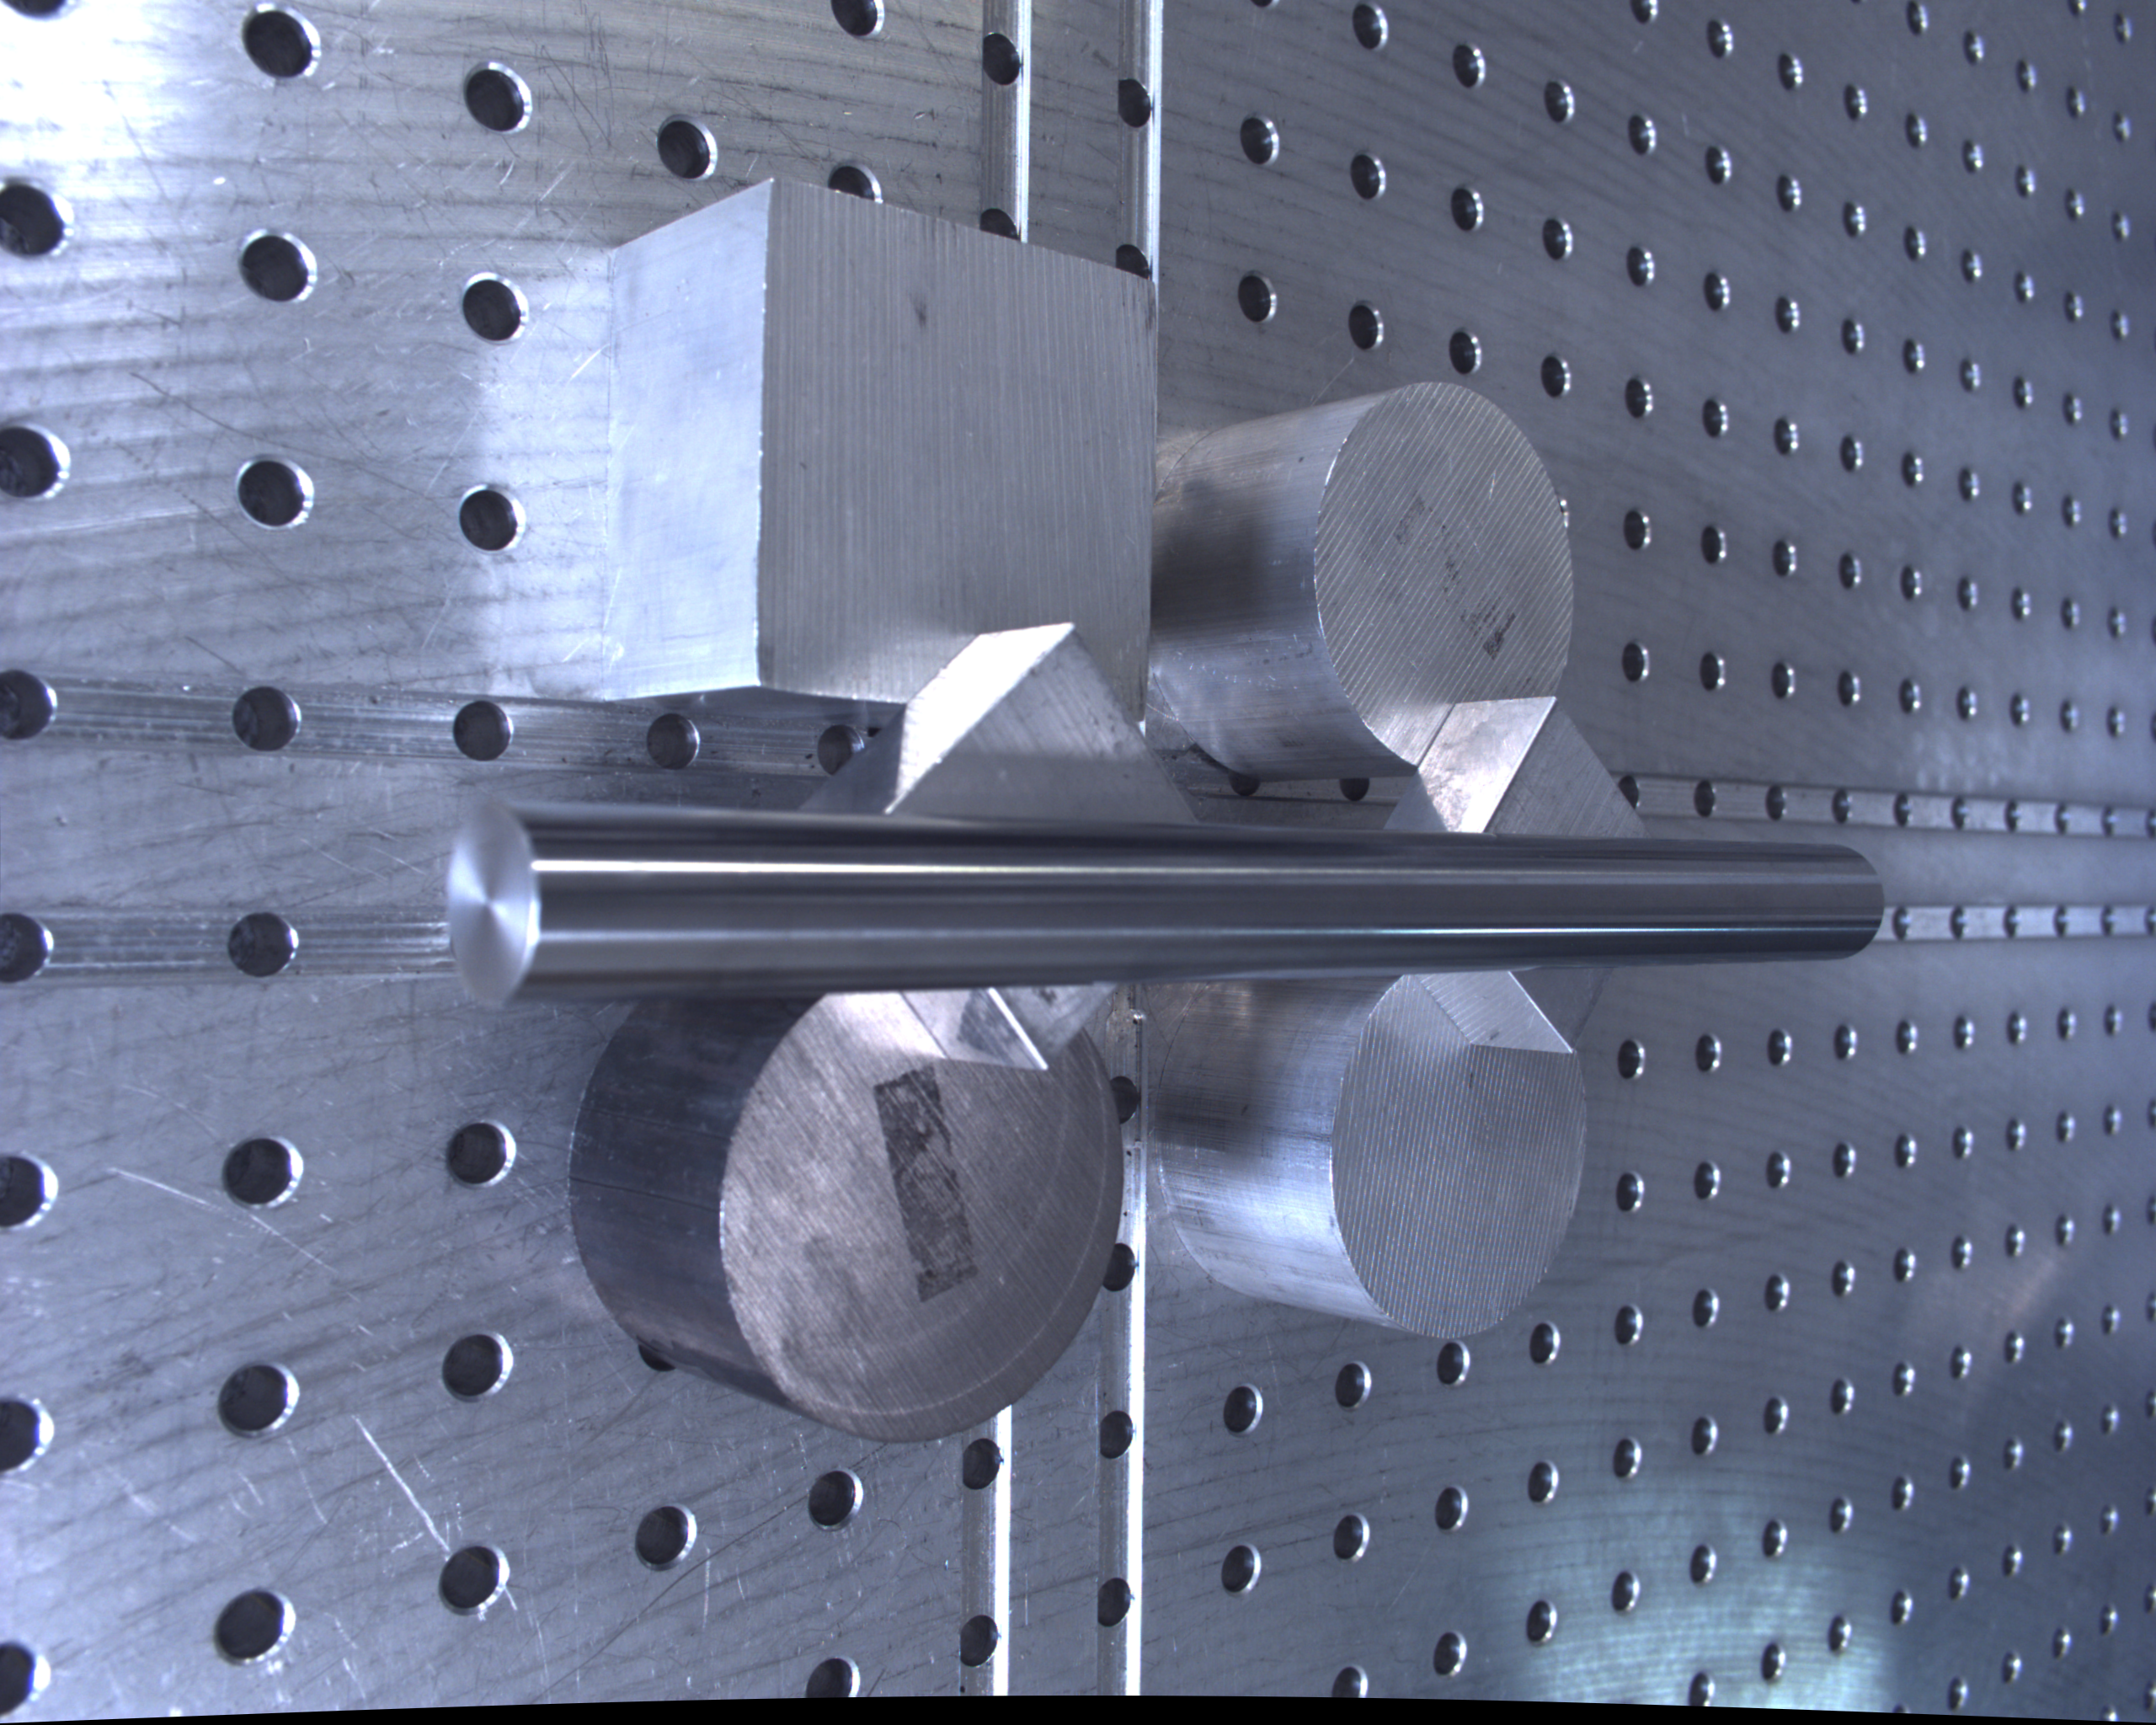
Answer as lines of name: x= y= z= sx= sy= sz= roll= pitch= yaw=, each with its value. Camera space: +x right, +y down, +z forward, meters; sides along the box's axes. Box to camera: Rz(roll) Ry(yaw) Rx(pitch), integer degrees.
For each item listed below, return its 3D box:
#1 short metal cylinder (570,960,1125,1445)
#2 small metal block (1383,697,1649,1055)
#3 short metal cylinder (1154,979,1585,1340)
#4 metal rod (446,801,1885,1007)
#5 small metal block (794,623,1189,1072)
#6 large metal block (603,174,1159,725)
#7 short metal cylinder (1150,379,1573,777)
short metal cylinder: x=-0.039 y=0.054 z=0.359 sx=0.081 sy=0.050 sz=0.080 roll=0 pitch=90 yaw=-40
small metal block: x=0.086 y=0.003 z=0.417 sx=0.050 sy=0.025 sz=0.050 roll=48 pitch=62 yaw=-29
short metal cylinder: x=0.063 y=0.057 z=0.446 sx=0.081 sy=0.050 sz=0.080 roll=0 pitch=90 yaw=-40
metal rod: x=0.045 y=0.007 z=0.348 sx=0.302 sy=0.025 sz=0.025 roll=1 pitch=90 yaw=-40
small metal block: x=-0.011 y=-0.003 z=0.335 sx=0.050 sy=0.025 sz=0.050 roll=-48 pitch=118 yaw=-29
large metal block: x=-0.033 y=-0.065 z=0.364 sx=0.081 sy=0.050 sz=0.080 roll=2 pitch=89 yaw=-40
short metal cylinder: x=0.060 y=-0.058 z=0.443 sx=0.081 sy=0.050 sz=0.080 roll=0 pitch=90 yaw=-40
